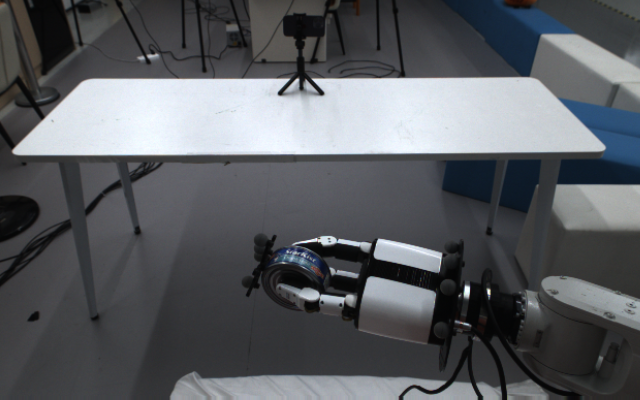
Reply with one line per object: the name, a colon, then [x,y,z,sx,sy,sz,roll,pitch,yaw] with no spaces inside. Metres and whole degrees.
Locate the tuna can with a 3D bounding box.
tuna can: [-0.028,0.105,0.617,0.085,0.085,0.034,9,35,10]
